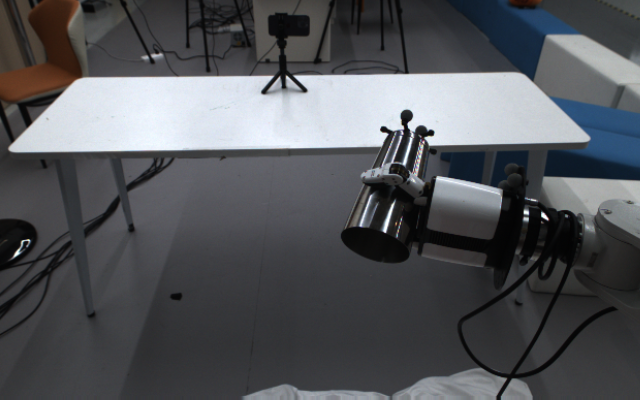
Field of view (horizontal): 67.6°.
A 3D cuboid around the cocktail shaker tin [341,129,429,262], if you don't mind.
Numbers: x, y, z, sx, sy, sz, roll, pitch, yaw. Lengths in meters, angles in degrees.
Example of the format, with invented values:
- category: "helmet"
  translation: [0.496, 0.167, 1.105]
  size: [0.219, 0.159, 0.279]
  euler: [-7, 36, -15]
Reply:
- category: "cocktail shaker tin"
  translation: [0.097, -0.011, 0.657]
  size: [0.093, 0.093, 0.170]
  euler: [14, 61, 17]
